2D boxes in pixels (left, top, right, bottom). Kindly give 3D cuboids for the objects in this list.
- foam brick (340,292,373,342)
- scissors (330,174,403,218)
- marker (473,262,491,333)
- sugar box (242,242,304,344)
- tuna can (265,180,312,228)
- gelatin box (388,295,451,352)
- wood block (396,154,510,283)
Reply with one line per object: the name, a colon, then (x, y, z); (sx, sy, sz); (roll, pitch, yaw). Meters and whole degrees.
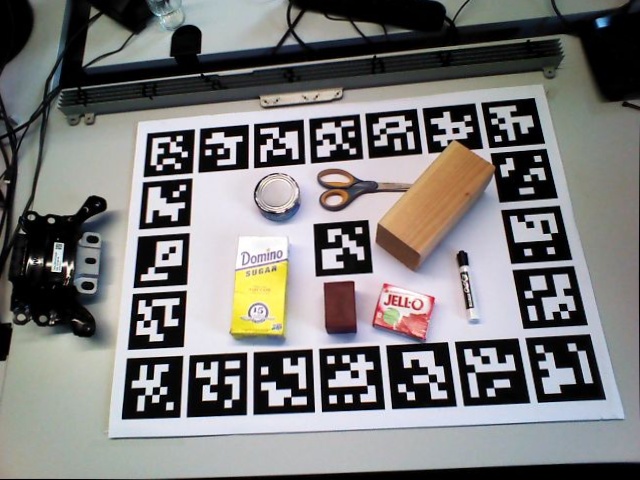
foam brick: (0.061, 0.131, 0.869); (0.053, 0.051, 0.077); (-1, 71, 6)
scissors: (0.117, -0.079, 0.962); (0.203, 0.016, 0.087); (3, 71, 10)
marker: (0.275, 0.097, 0.877); (0.020, 0.020, 0.120); (-2, 72, 5)
sugar box: (-0.080, 0.093, 0.907); (0.093, 0.045, 0.175); (2, 71, 6)
tuna can: (-0.057, -0.066, 0.963); (0.086, 0.034, 0.085); (-2, 71, 6)
gelatin box: (0.166, 0.139, 0.870); (0.090, 0.030, 0.073); (15, 73, 12)
wood block: (0.231, -0.038, 0.898); (0.090, 0.091, 0.205); (40, 78, 18)
